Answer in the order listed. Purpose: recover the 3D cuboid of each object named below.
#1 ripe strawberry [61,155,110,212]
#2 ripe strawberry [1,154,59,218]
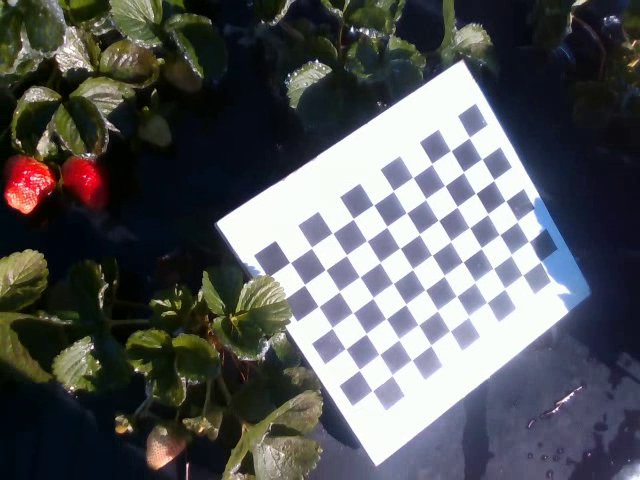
[{"bbox_3d":[-0.238,-0.061,0.691,0.043,0.059,0.040,-35,4,-14],"label":"ripe strawberry"},{"bbox_3d":[-0.291,-0.053,0.685,0.052,0.070,0.040,14,-12,-22],"label":"ripe strawberry"}]
